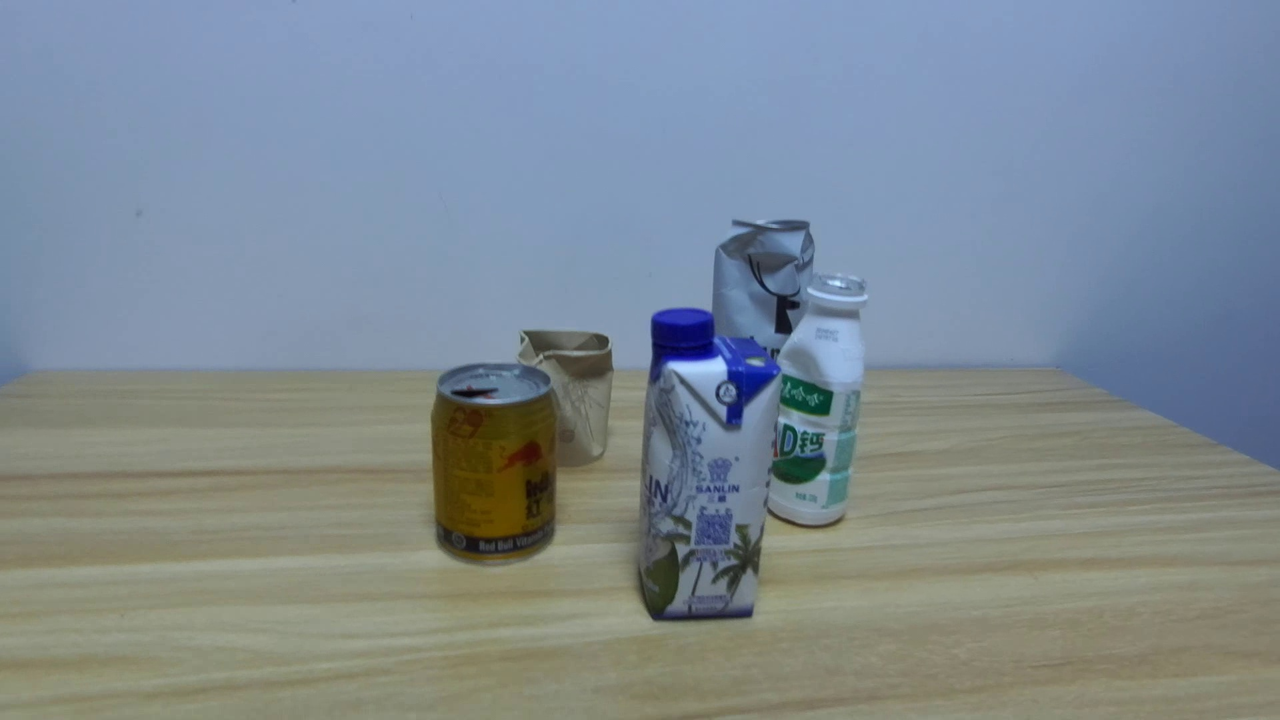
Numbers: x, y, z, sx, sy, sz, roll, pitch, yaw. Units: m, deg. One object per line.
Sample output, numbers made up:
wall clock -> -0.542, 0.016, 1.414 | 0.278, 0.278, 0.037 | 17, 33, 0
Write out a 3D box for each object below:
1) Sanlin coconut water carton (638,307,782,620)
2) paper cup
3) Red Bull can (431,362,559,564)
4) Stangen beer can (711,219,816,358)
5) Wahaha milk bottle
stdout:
Sanlin coconut water carton -> 0.030, 0.048, 0.337 | 0.061, 0.144, 0.060 | 2, 17, -9
paper cup -> -0.051, 0.027, 0.478 | 0.066, 0.083, 0.058 | 0, 19, 0
Red Bull can -> -0.078, 0.054, 0.382 | 0.067, 0.093, 0.067 | 3, 19, -1
Stangen beer can -> 0.087, -0.016, 0.506 | 0.065, 0.166, 0.066 | 9, 19, 24
Wahaha milk bottle -> 0.107, 0.024, 0.416 | 0.055, 0.149, 0.055 | 5, 18, -1
